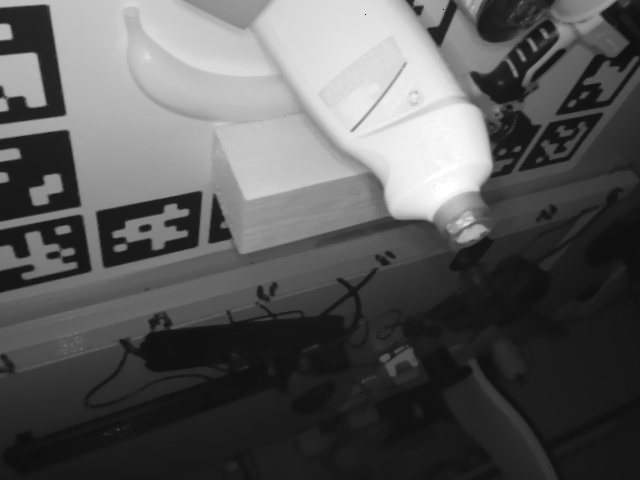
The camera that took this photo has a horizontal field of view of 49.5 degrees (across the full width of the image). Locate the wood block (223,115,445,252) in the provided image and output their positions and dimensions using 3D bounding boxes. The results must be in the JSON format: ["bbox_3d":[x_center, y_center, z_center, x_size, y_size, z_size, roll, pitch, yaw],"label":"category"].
[{"bbox_3d":[0.019,-0.067,0.677,0.209,0.091,0.088,-12,145,-22],"label":"wood block"}]

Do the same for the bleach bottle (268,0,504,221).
[{"bbox_3d":[0.044,-0.113,0.472,0.069,0.251,0.101,12,134,-46],"label":"bleach bottle"}]

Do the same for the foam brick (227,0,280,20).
[{"bbox_3d":[-0.051,-0.195,0.452,0.051,0.078,0.053,-40,148,25],"label":"foam brick"}]

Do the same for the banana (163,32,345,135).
[{"bbox_3d":[-0.045,-0.123,0.589,0.200,0.039,0.073,1,125,-34],"label":"banana"}]

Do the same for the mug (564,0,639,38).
[{"bbox_3d":[0.234,-0.240,0.582,0.116,0.081,0.094,-39,144,15],"label":"mug"}]

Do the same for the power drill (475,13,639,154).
[{"bbox_3d":[0.242,-0.174,0.720,0.187,0.057,0.184,14,132,-43],"label":"power drill"}]

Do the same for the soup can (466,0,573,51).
[{"bbox_3d":[0.140,-0.206,0.534,0.068,0.102,0.067,-17,151,-9],"label":"soup can"}]
